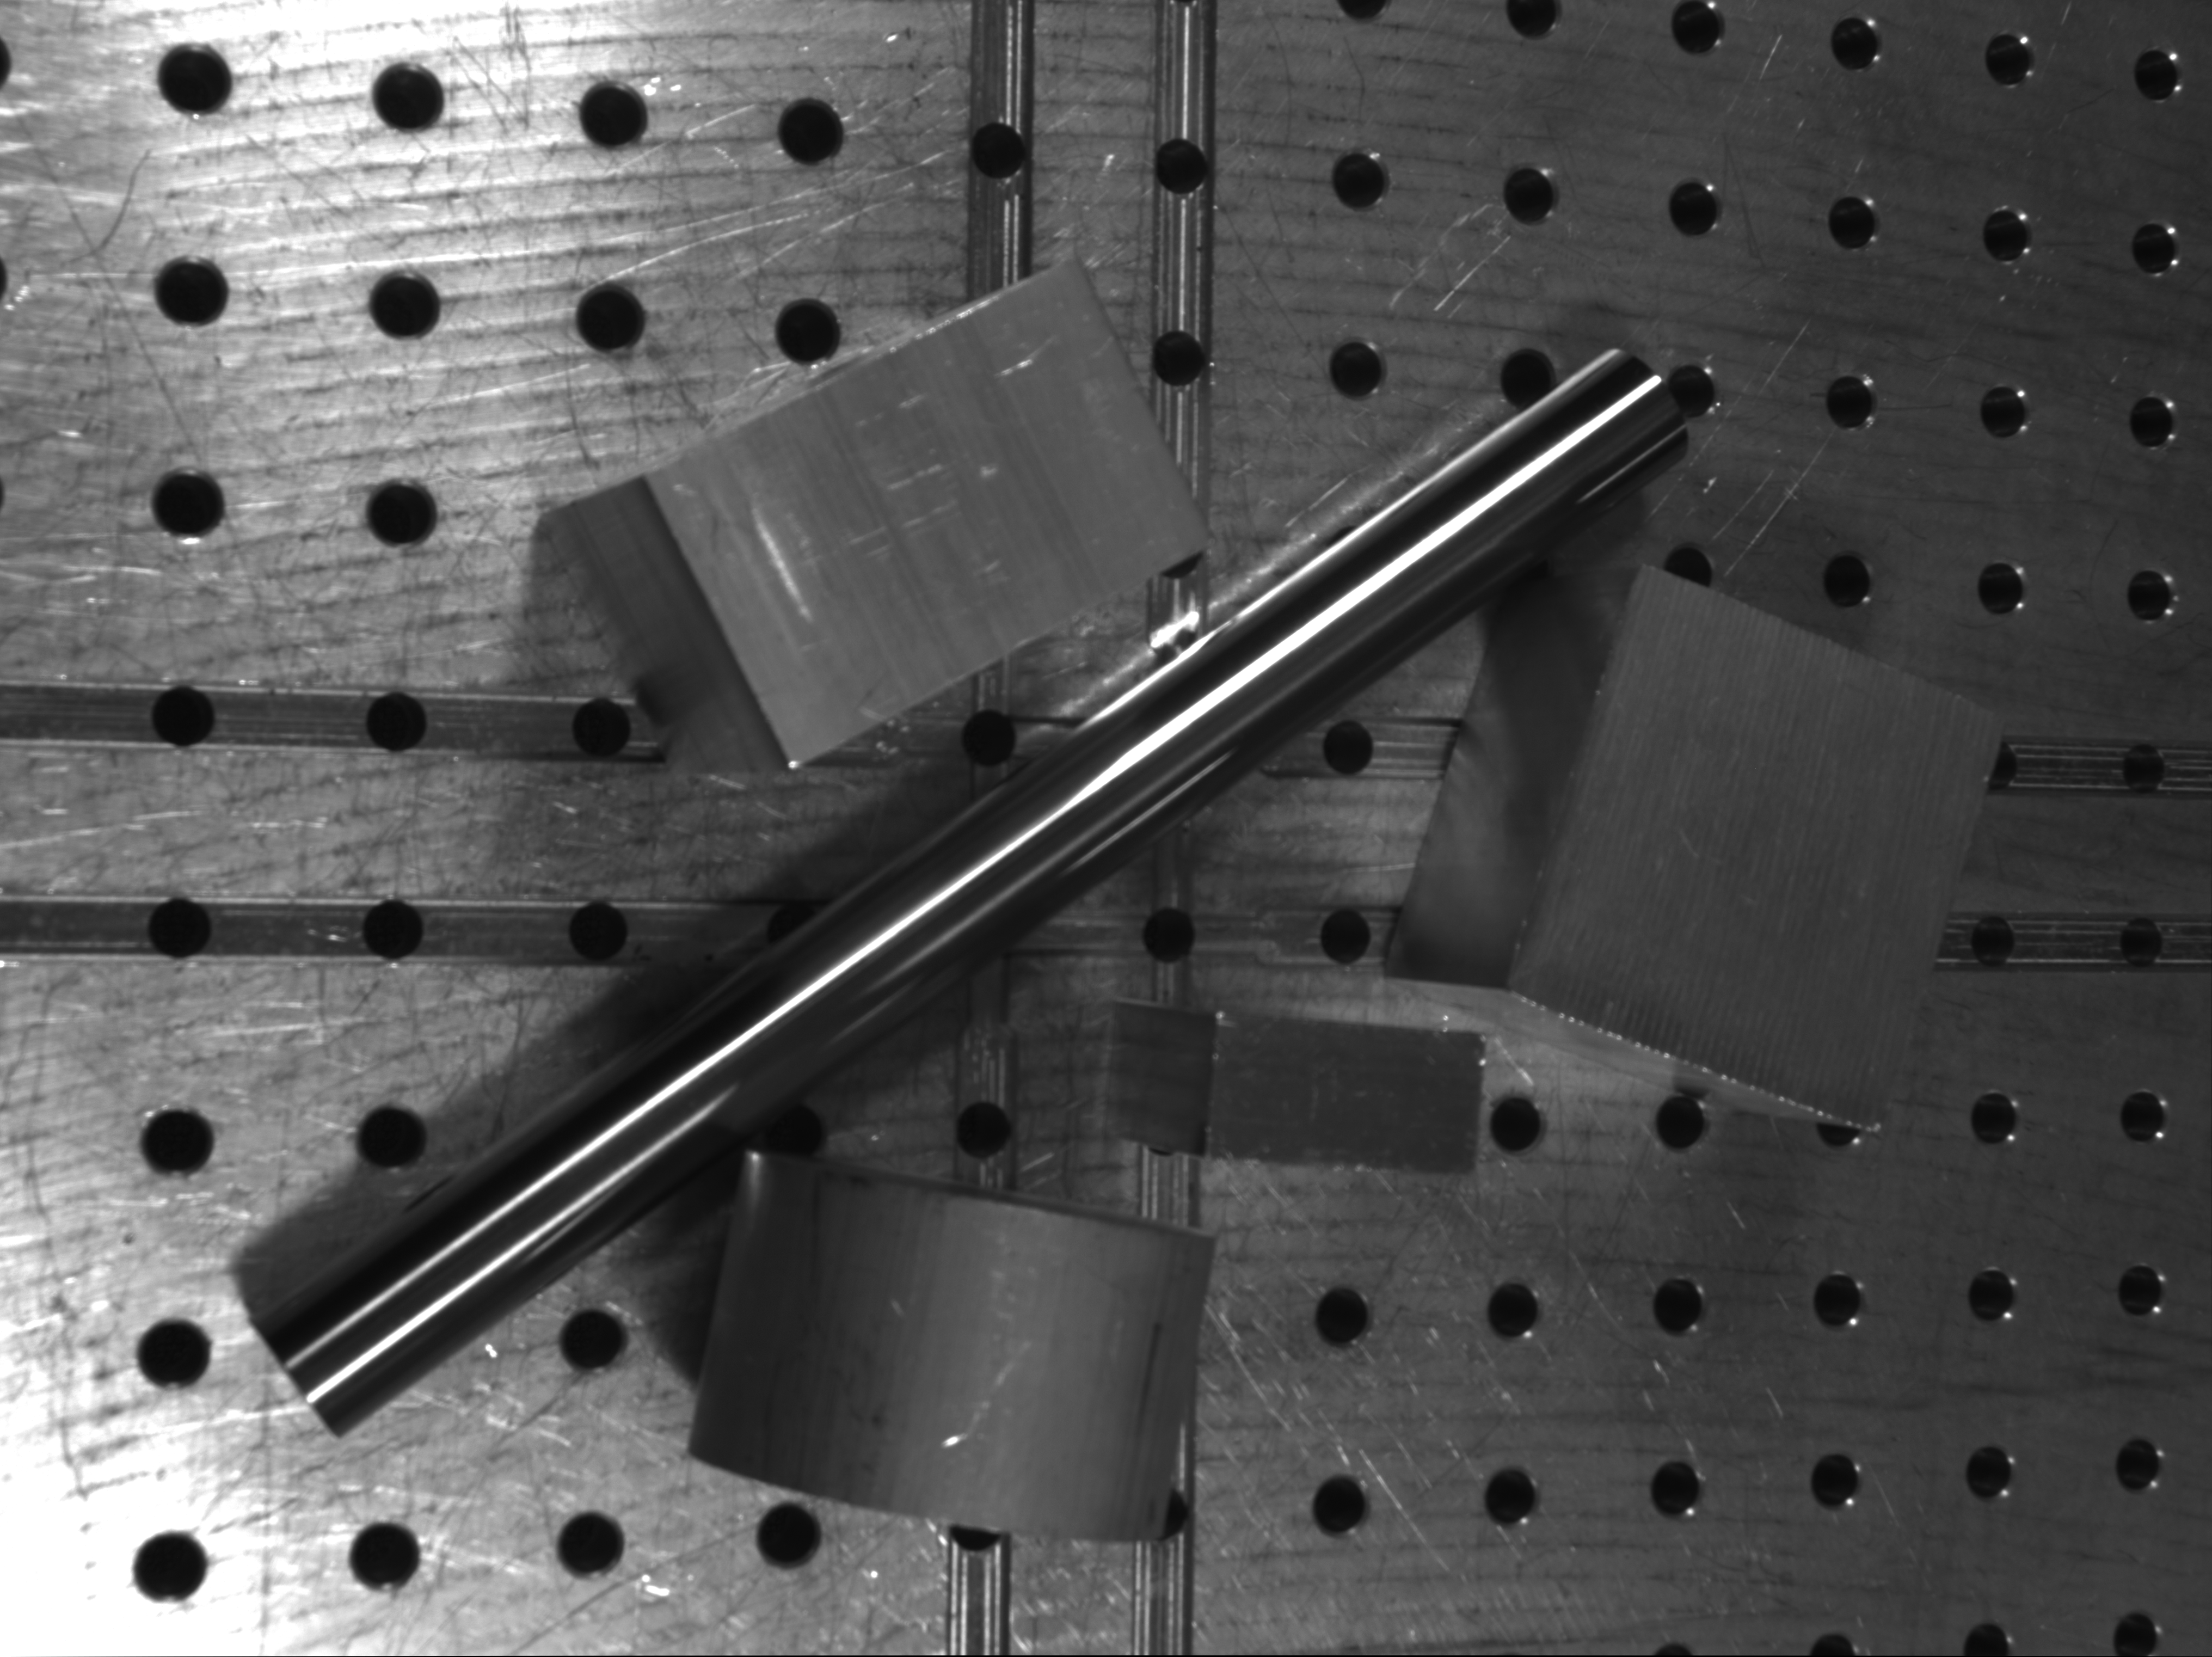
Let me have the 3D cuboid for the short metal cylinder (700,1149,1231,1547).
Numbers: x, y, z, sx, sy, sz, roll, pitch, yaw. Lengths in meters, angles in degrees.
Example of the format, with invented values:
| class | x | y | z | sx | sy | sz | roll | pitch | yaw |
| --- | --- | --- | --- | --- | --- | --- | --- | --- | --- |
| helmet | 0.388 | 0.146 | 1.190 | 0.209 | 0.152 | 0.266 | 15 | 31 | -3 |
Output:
| class | x | y | z | sx | sy | sz | roll | pitch | yaw |
| --- | --- | --- | --- | --- | --- | --- | --- | --- | --- |
| short metal cylinder | -0.023 | 0.085 | 0.608 | 0.080 | 0.080 | 0.050 | 13 | 86 | -19 |

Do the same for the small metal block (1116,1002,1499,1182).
| class | x | y | z | sx | sy | sz | roll | pitch | yaw |
| --- | --- | --- | --- | --- | --- | --- | --- | --- | --- |
| small metal block | 0.035 | 0.046 | 0.645 | 0.050 | 0.050 | 0.025 | 6 | 88 | -20 |

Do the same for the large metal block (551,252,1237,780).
| class | x | y | z | sx | sy | sz | roll | pitch | yaw |
| --- | --- | --- | --- | --- | --- | --- | --- | --- | --- |
| large metal block | -0.037 | -0.049 | 0.604 | 0.080 | 0.080 | 0.050 | -30 | 100 | -17 |

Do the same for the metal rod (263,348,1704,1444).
| class | x | y | z | sx | sy | sz | roll | pitch | yaw |
| --- | --- | --- | --- | --- | --- | --- | --- | --- | --- |
| metal rod | -0.014 | 0.006 | 0.640 | 0.300 | 0.025 | 0.025 | -36 | 101 | -16 |

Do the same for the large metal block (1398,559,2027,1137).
| class | x | y | z | sx | sy | sz | roll | pitch | yaw |
| --- | --- | --- | --- | --- | --- | --- | --- | --- | --- |
| large metal block | 0.110 | 0.004 | 0.670 | 0.080 | 0.050 | 0.080 | 21 | 83 | -19 |
